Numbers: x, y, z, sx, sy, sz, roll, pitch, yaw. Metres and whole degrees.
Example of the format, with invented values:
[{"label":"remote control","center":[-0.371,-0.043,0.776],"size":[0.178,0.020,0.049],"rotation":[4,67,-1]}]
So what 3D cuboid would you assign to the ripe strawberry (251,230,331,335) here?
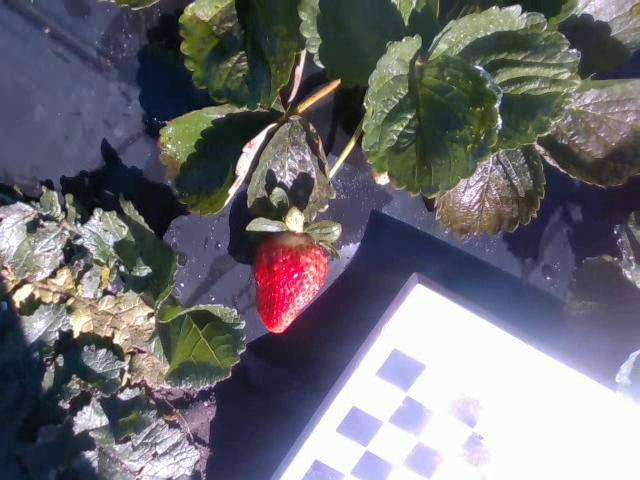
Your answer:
[{"label":"ripe strawberry","center":[-0.019,0.026,0.343],"size":[0.048,0.069,0.040],"rotation":[13,13,0]}]
